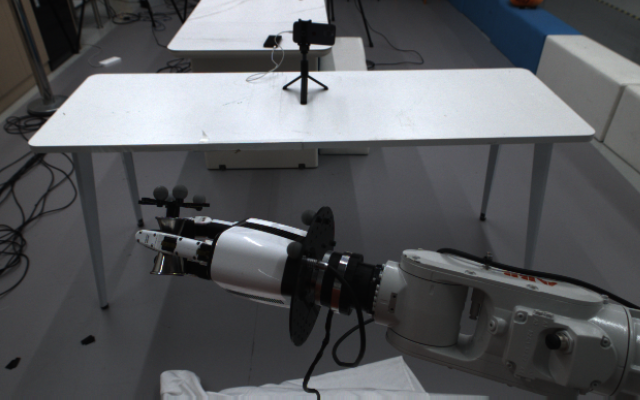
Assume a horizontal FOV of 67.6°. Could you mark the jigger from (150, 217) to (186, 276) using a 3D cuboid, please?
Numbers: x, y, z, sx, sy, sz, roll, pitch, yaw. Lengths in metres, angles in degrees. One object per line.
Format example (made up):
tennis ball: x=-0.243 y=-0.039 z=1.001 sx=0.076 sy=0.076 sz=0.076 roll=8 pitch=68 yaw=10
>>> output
jigger: x=-0.180 y=0.056 z=0.589 sx=0.043 sy=0.071 sz=0.043 roll=2 pitch=-6 yaw=0
